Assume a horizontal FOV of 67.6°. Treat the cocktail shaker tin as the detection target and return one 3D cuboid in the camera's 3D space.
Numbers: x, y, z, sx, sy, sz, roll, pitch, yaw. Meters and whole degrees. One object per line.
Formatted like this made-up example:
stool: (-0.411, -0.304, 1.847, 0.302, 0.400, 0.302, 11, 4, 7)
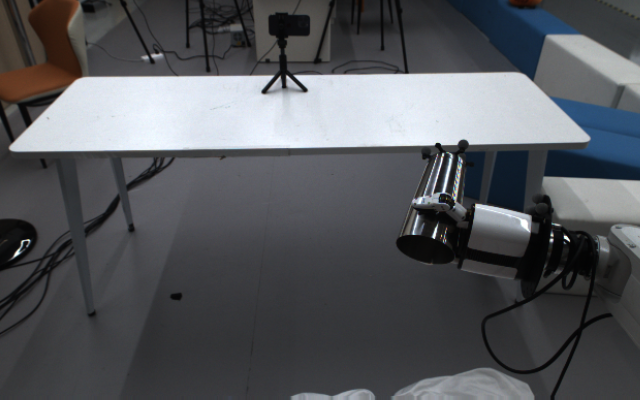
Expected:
cocktail shaker tin: (0.189, 0.008, 0.787, 0.093, 0.093, 0.170, 13, 61, 16)
